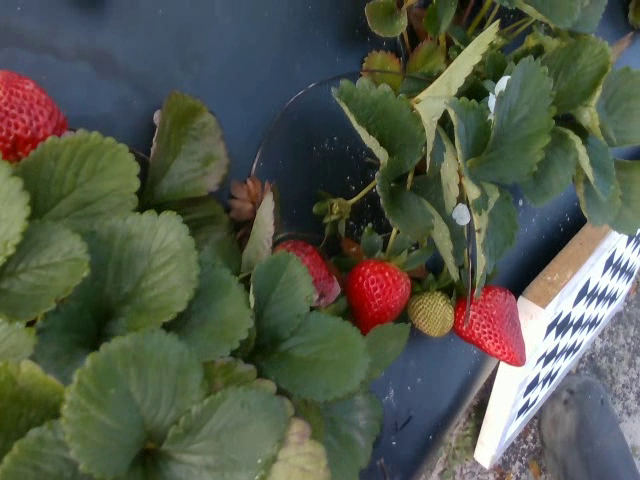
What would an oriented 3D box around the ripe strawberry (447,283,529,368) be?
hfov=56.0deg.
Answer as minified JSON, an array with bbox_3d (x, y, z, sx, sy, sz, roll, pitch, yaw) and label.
[{"bbox_3d":[0.052,0.027,0.173,0.022,0.030,0.025,-26,-28,1],"label":"ripe strawberry"}]
